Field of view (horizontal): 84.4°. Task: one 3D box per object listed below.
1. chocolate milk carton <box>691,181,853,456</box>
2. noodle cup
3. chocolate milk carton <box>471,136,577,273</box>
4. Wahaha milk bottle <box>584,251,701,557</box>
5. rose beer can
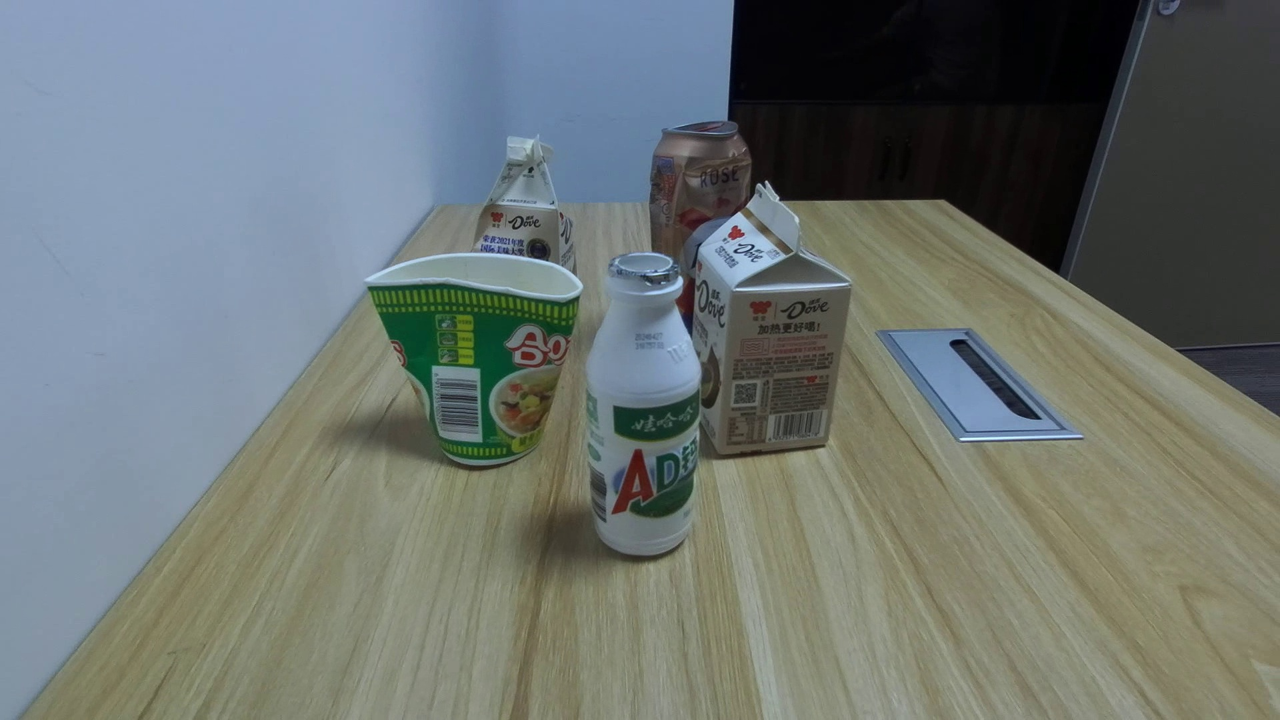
[{"bbox_3d":[0.077,-0.026,0.425,0.074,0.148,0.075,-4,28,-9],"label":"chocolate milk carton"},{"bbox_3d":[-0.091,-0.001,0.419,0.114,0.111,0.070,17,34,29],"label":"noodle cup"},{"bbox_3d":[-0.090,-0.107,0.575,0.073,0.155,0.076,6,28,6],"label":"chocolate milk carton"},{"bbox_3d":[0.002,0.024,0.339,0.056,0.148,0.056,-1,25,1],"label":"Wahaha milk bottle"},{"bbox_3d":[0.046,-0.084,0.523,0.076,0.167,0.065,-11,14,-20],"label":"rose beer can"}]
